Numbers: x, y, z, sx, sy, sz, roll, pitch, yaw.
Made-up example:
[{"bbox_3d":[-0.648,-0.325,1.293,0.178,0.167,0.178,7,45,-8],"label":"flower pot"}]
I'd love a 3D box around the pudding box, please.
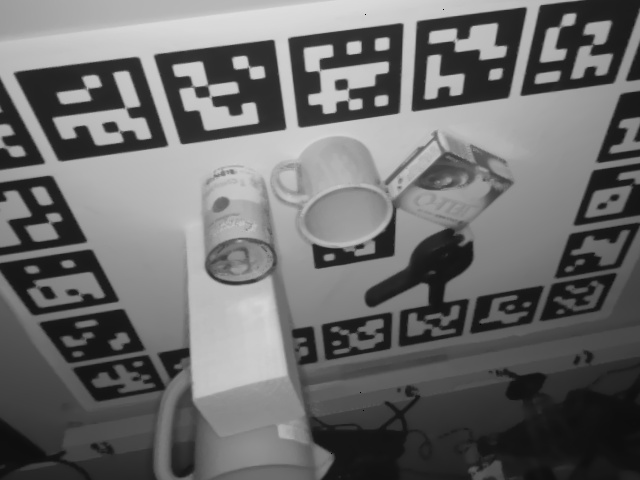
[{"bbox_3d":[0.160,-0.056,0.746,0.115,0.039,0.088,19,126,-31],"label":"pudding box"}]

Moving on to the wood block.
[{"bbox_3d":[-0.072,0.087,0.709,0.090,0.207,0.090,-8,138,1],"label":"wood block"}]

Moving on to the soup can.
[{"bbox_3d":[-0.068,-0.013,0.681,0.068,0.102,0.067,-7,135,-6],"label":"soup can"}]

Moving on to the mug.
[{"bbox_3d":[0.021,-0.049,0.682,0.118,0.082,0.092,18,132,-31],"label":"mug"}]

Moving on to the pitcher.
[{"bbox_3d":[-0.087,0.184,0.785,0.190,0.243,0.132,-11,140,-6],"label":"pitcher"}]

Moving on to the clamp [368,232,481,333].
[{"bbox_3d":[0.147,0.051,0.866,0.123,0.037,0.162,17,130,-20],"label":"clamp"}]
